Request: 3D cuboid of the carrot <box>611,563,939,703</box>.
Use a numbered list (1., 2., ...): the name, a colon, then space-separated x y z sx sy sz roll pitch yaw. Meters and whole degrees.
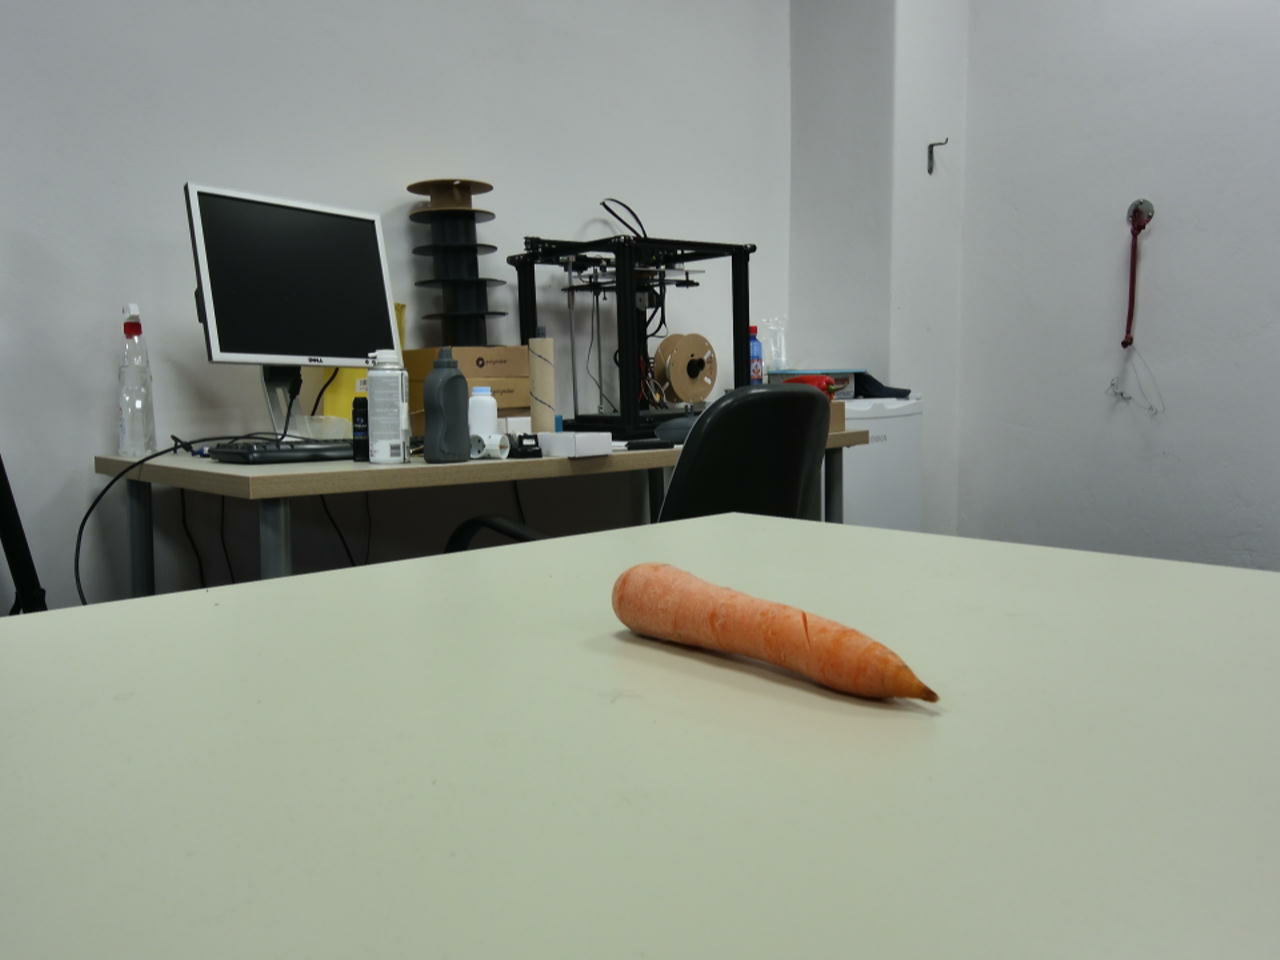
1. carrot: 0.057 0.069 0.474 0.039 0.041 0.196 -2 5 -41
